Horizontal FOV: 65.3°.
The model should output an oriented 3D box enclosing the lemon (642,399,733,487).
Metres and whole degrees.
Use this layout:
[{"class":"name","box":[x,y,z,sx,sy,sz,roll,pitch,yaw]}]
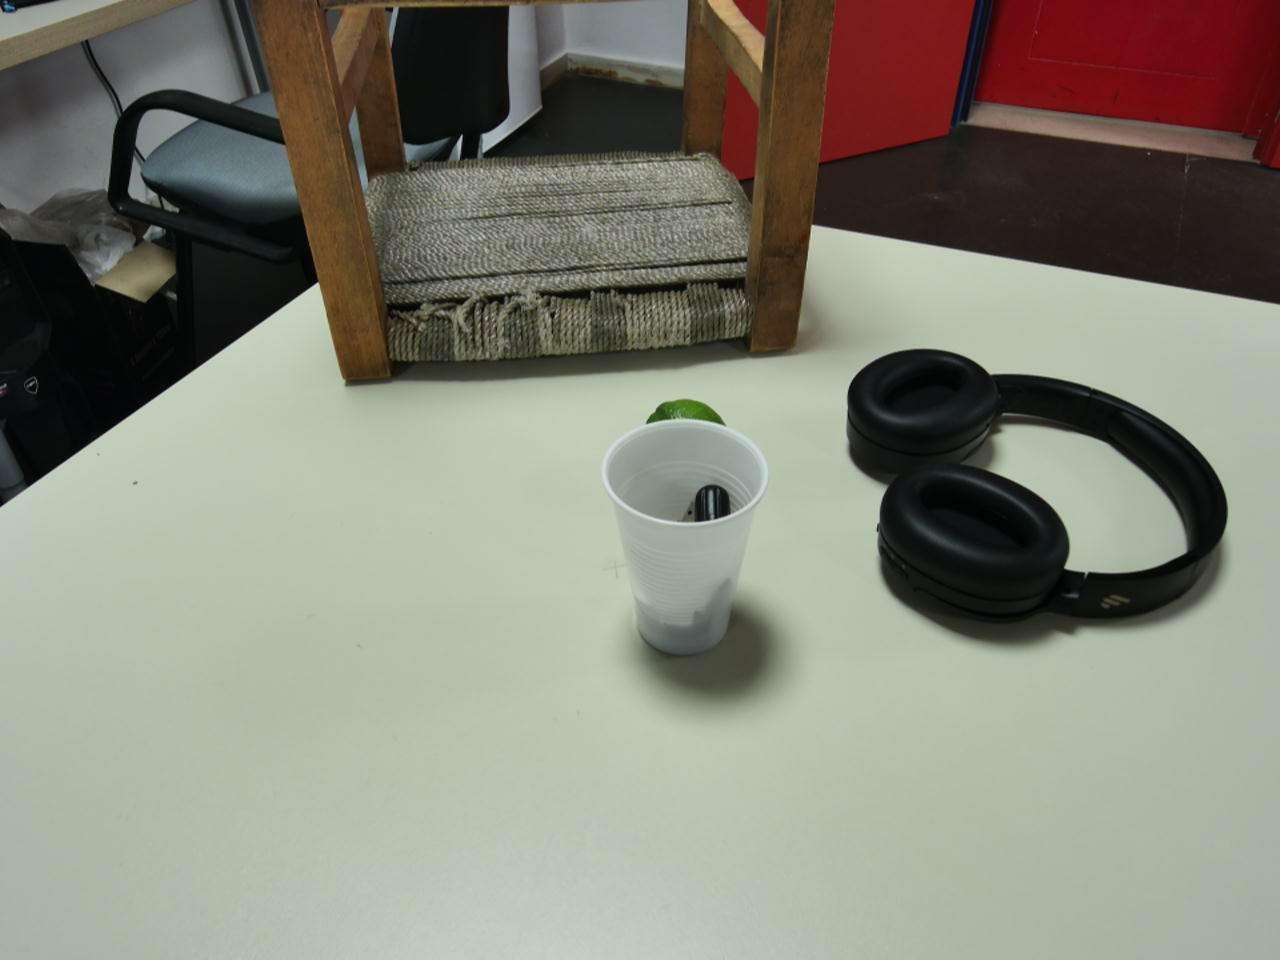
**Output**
[{"class":"lemon","box":[0.029,-0.023,0.611,0.057,0.051,0.054,14,41,16]}]
